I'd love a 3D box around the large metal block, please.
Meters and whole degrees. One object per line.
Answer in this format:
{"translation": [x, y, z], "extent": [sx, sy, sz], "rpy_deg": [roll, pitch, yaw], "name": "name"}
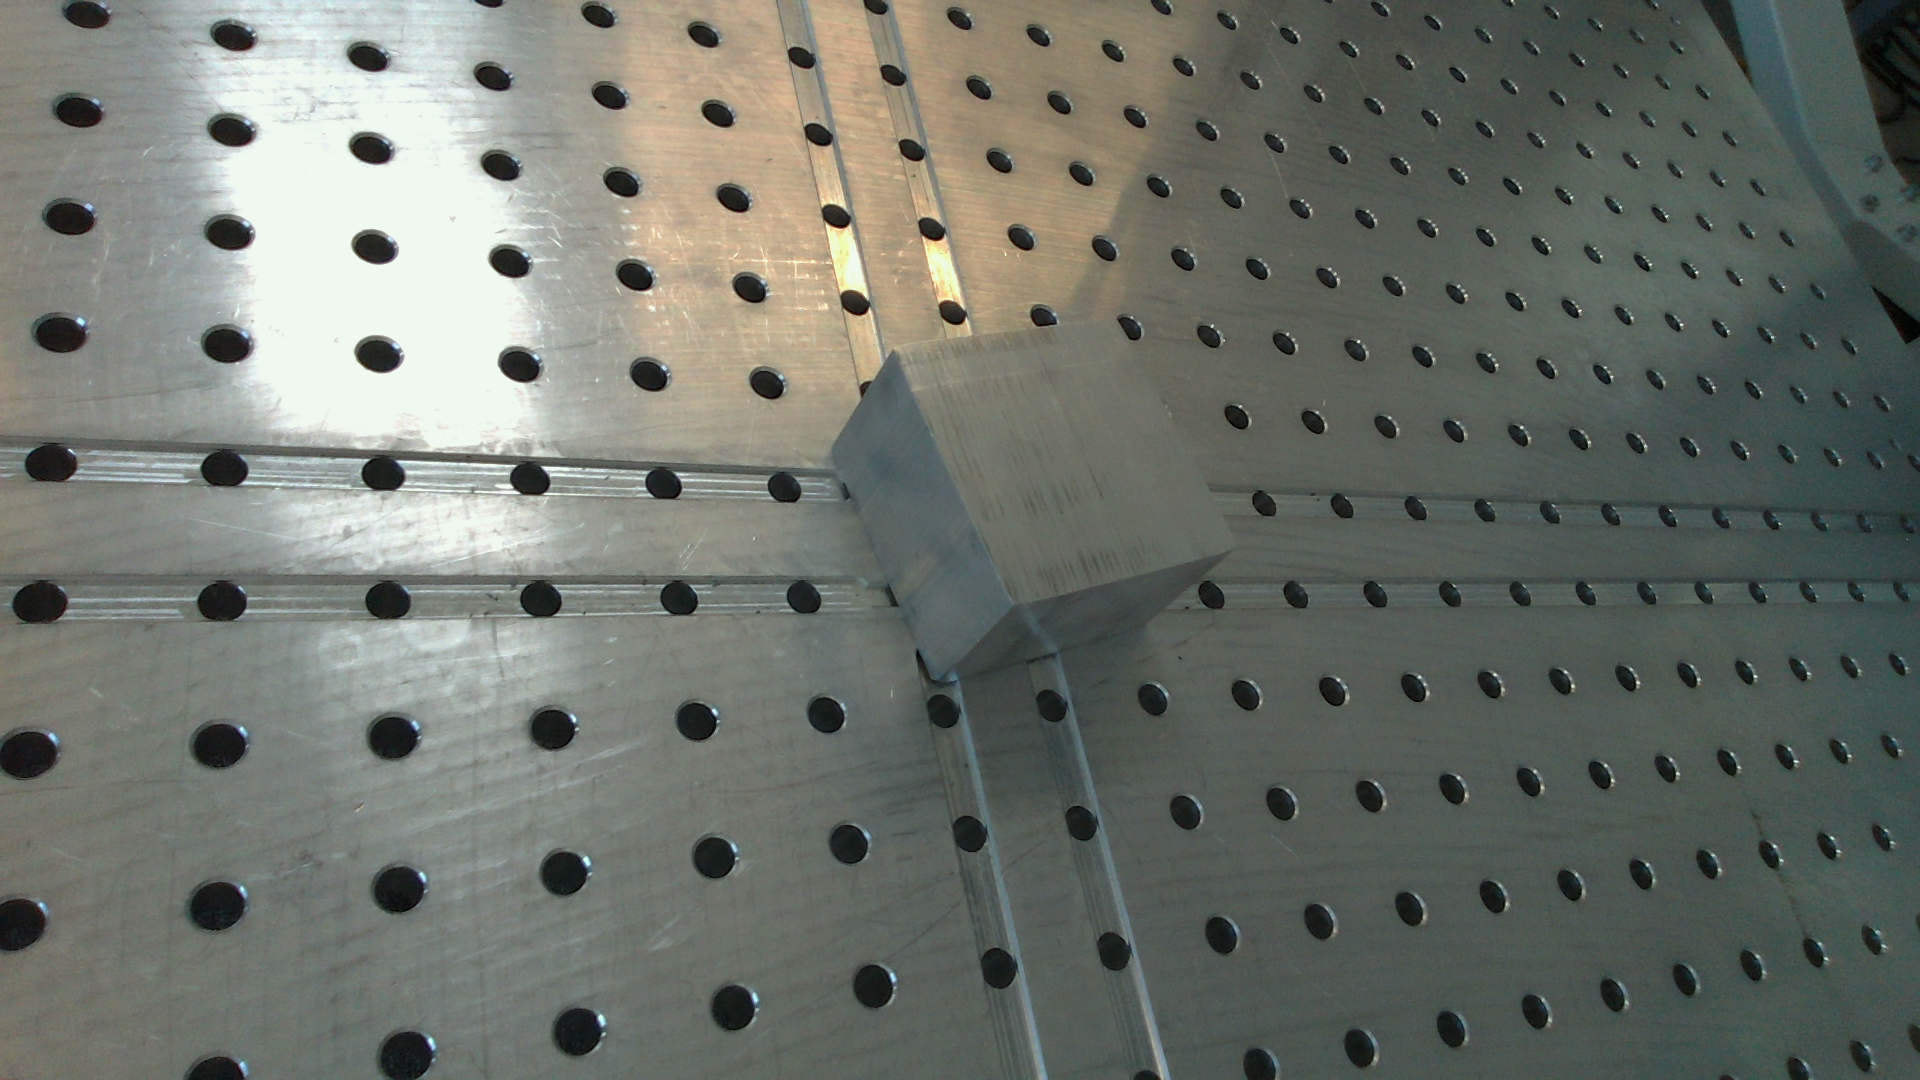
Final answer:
{"translation": [0.020, -0.013, 0.394], "extent": [0.080, 0.050, 0.080], "rpy_deg": [-13, 68, -33], "name": "large metal block"}
